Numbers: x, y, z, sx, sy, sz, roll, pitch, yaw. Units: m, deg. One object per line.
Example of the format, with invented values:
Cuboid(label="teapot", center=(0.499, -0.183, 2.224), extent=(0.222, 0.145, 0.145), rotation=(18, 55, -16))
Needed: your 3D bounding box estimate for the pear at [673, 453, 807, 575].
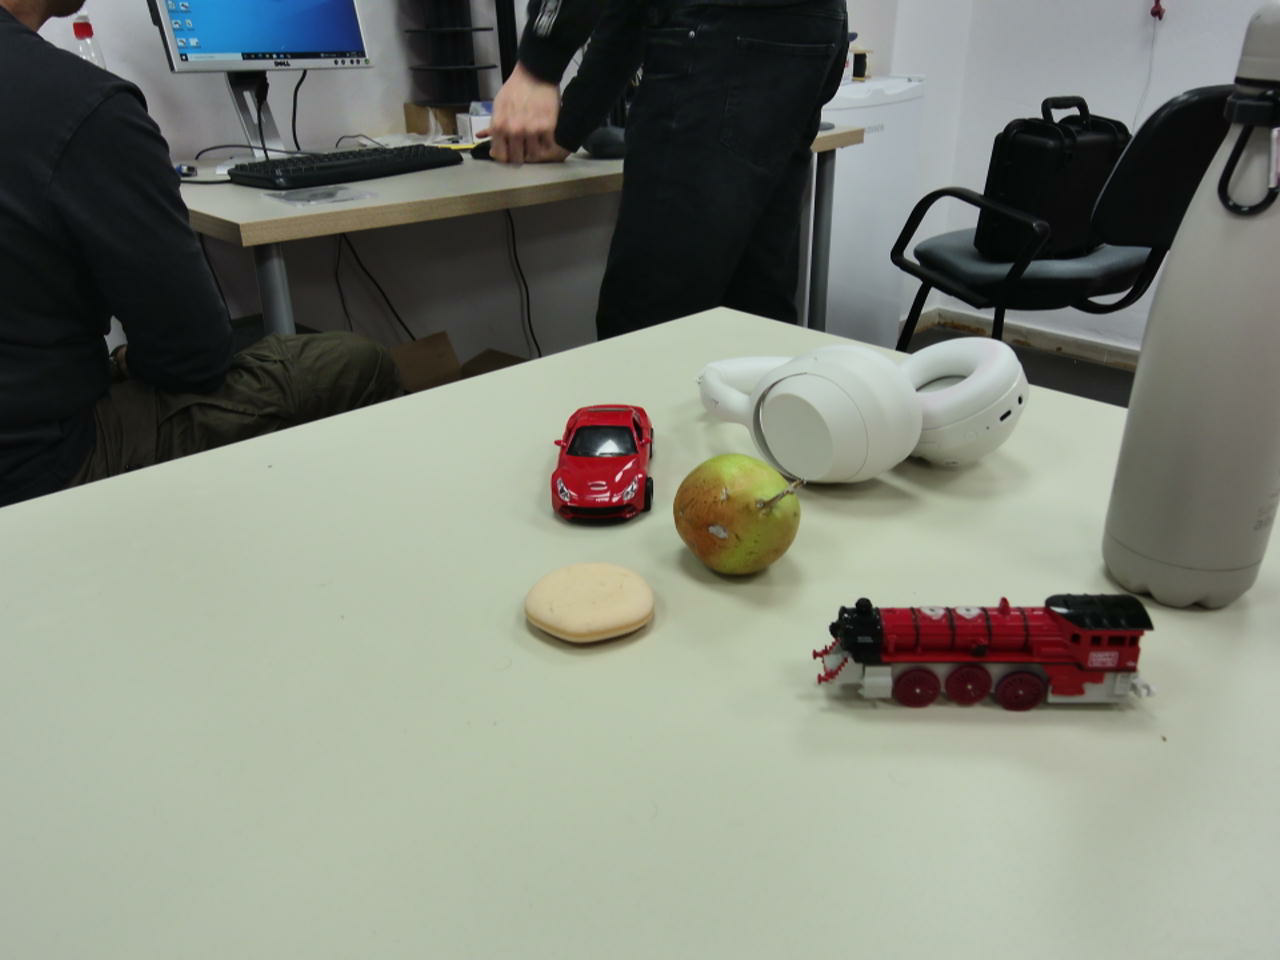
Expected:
Cuboid(label="pear", center=(0.051, 0.016, 0.530), extent=(0.068, 0.069, 0.070), rotation=(5, 24, 9))
